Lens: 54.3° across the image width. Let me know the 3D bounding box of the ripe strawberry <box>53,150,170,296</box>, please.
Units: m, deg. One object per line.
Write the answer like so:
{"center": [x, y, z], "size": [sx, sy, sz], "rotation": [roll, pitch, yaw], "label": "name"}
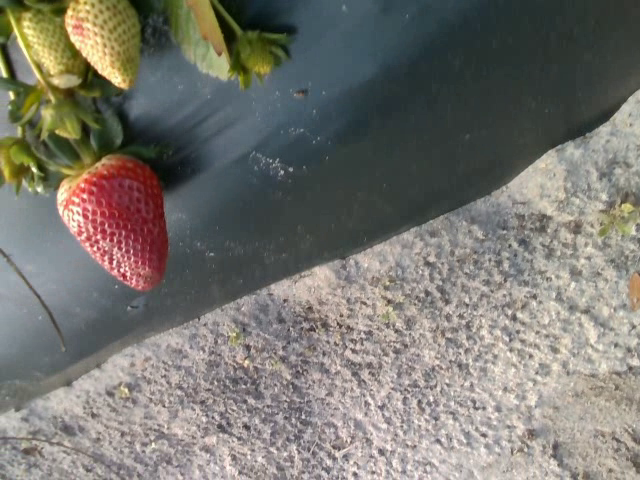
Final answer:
{"center": [-0.097, -0.005, 0.295], "size": [0.052, 0.068, 0.044], "rotation": [-25, 5, 25], "label": "ripe strawberry"}
